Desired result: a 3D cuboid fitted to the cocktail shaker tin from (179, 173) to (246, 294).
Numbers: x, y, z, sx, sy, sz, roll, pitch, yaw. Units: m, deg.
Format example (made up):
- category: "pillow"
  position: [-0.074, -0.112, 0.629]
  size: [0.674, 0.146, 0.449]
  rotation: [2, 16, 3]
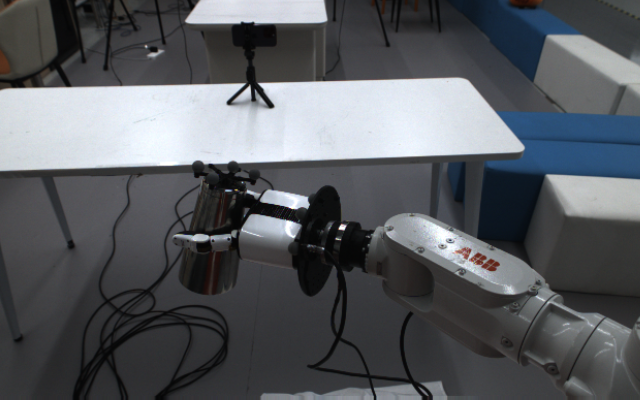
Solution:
- category: "cocktail shaker tin"
  position: [-0.157, 0.047, 0.738]
  size: [0.093, 0.170, 0.093]
  rotation: [12, 24, -5]
